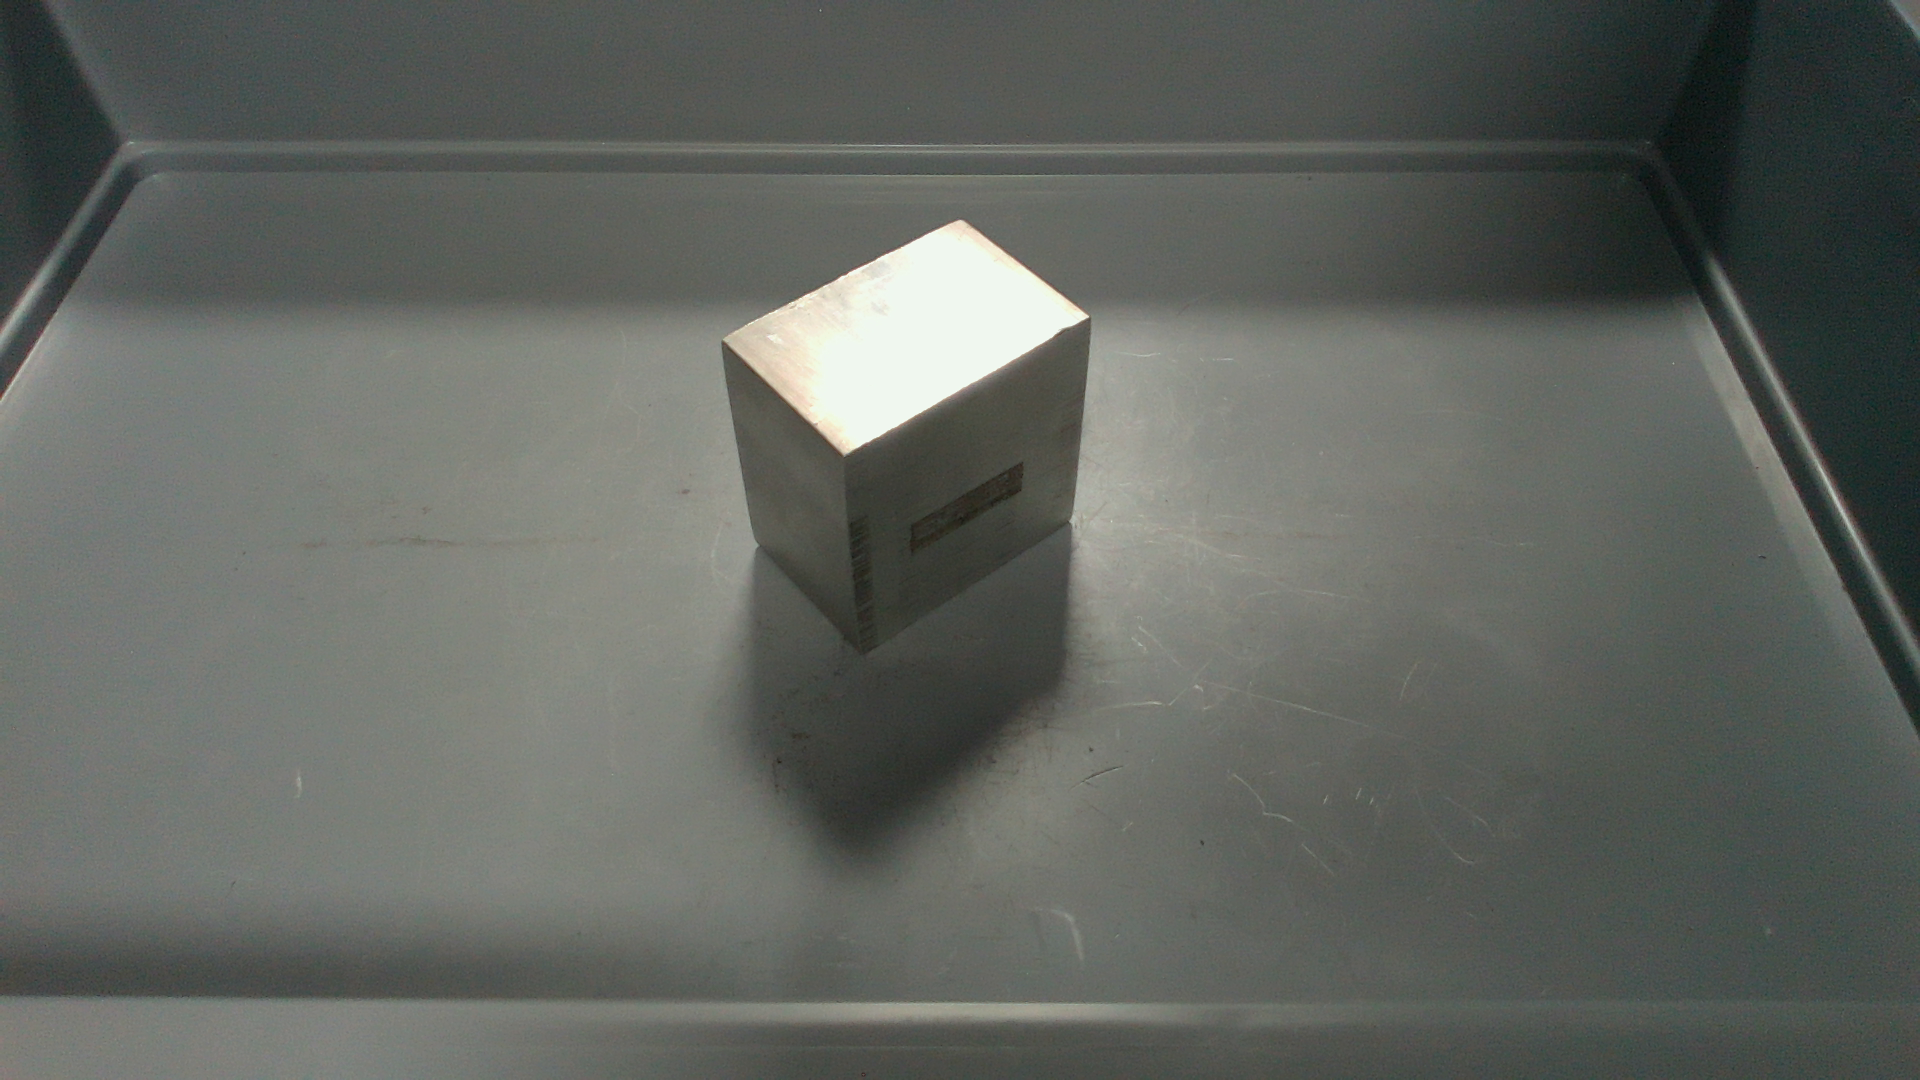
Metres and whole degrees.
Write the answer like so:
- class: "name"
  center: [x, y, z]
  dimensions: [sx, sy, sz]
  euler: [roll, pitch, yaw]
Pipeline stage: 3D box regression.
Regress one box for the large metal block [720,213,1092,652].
- class: "large metal block"
  center: [-0.013, -0.029, 0.377]
  dimensions: [0.080, 0.080, 0.050]
  euler: [-32, 57, -24]
